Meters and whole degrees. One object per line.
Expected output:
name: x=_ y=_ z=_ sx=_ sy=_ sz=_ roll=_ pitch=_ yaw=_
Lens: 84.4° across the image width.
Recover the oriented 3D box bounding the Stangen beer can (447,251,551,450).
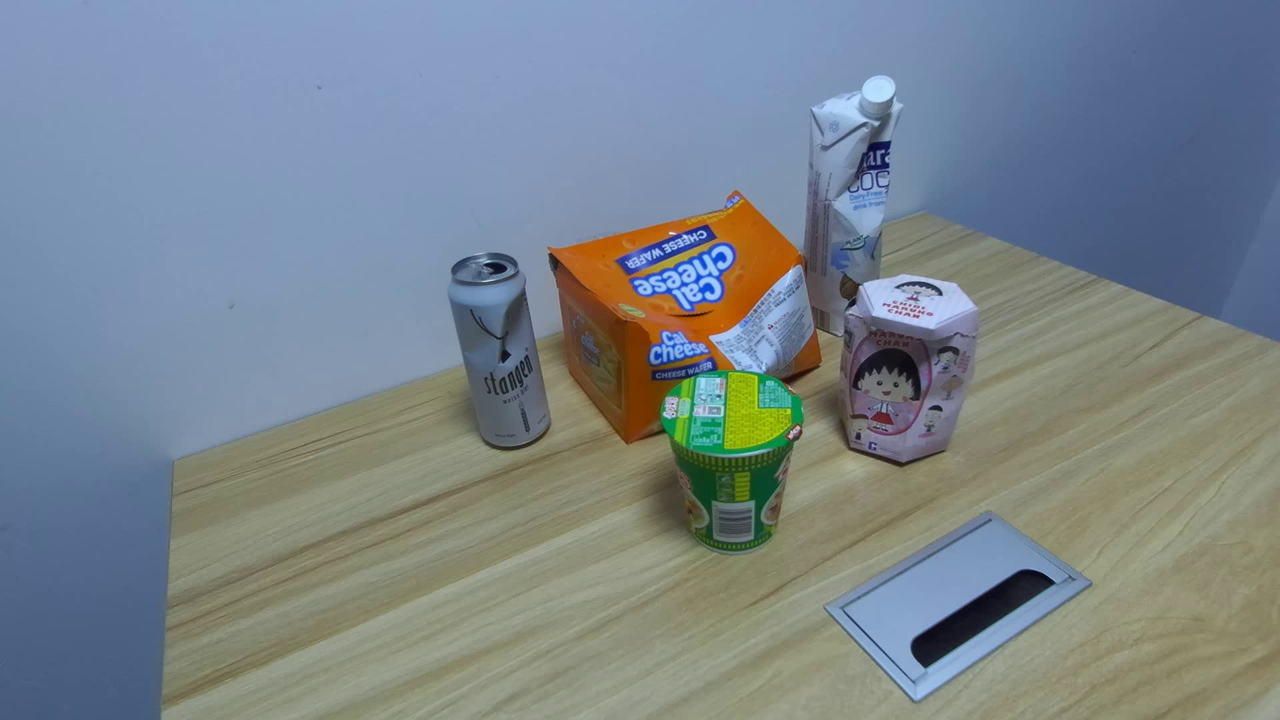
Stangen beer can: x=-0.119 y=-0.006 z=0.615 sx=0.070 sy=0.173 sz=0.069 roll=-20 pitch=35 yaw=-22

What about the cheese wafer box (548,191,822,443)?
cheese wafer box: x=0.053 y=-0.045 z=0.670 sx=0.219 sy=0.145 sz=0.190 roll=-19 pitch=35 yaw=-21

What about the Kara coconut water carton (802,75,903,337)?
Kara coconut water carton: x=0.206 y=-0.151 z=0.708 sx=0.083 sy=0.256 sz=0.078 roll=-18 pitch=36 yaw=-21

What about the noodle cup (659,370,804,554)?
noodle cup: x=0.066 y=0.078 z=0.507 sx=0.097 sy=0.110 sz=0.097 roll=-4 pitch=33 yaw=3

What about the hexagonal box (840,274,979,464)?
hexagonal box: x=0.214 y=0.007 z=0.578 sx=0.090 sy=0.135 sz=0.091 roll=-11 pitch=32 yaw=-13
